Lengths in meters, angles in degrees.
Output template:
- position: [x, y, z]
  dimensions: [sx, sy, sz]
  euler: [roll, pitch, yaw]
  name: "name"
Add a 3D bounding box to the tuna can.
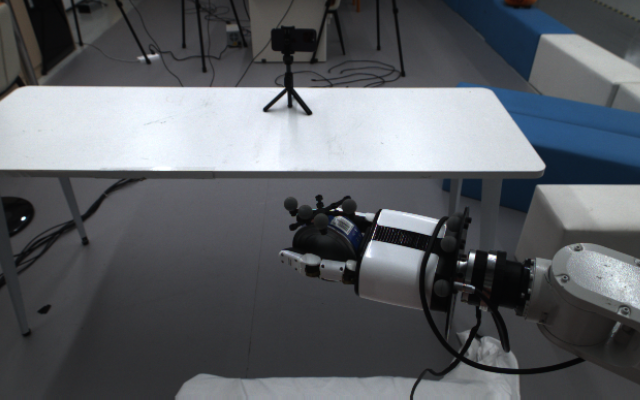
- position: [0.014, 0.056, 0.600]
  dimensions: [0.085, 0.085, 0.034]
  euler: [17, 37, 20]
  name: "tuna can"
